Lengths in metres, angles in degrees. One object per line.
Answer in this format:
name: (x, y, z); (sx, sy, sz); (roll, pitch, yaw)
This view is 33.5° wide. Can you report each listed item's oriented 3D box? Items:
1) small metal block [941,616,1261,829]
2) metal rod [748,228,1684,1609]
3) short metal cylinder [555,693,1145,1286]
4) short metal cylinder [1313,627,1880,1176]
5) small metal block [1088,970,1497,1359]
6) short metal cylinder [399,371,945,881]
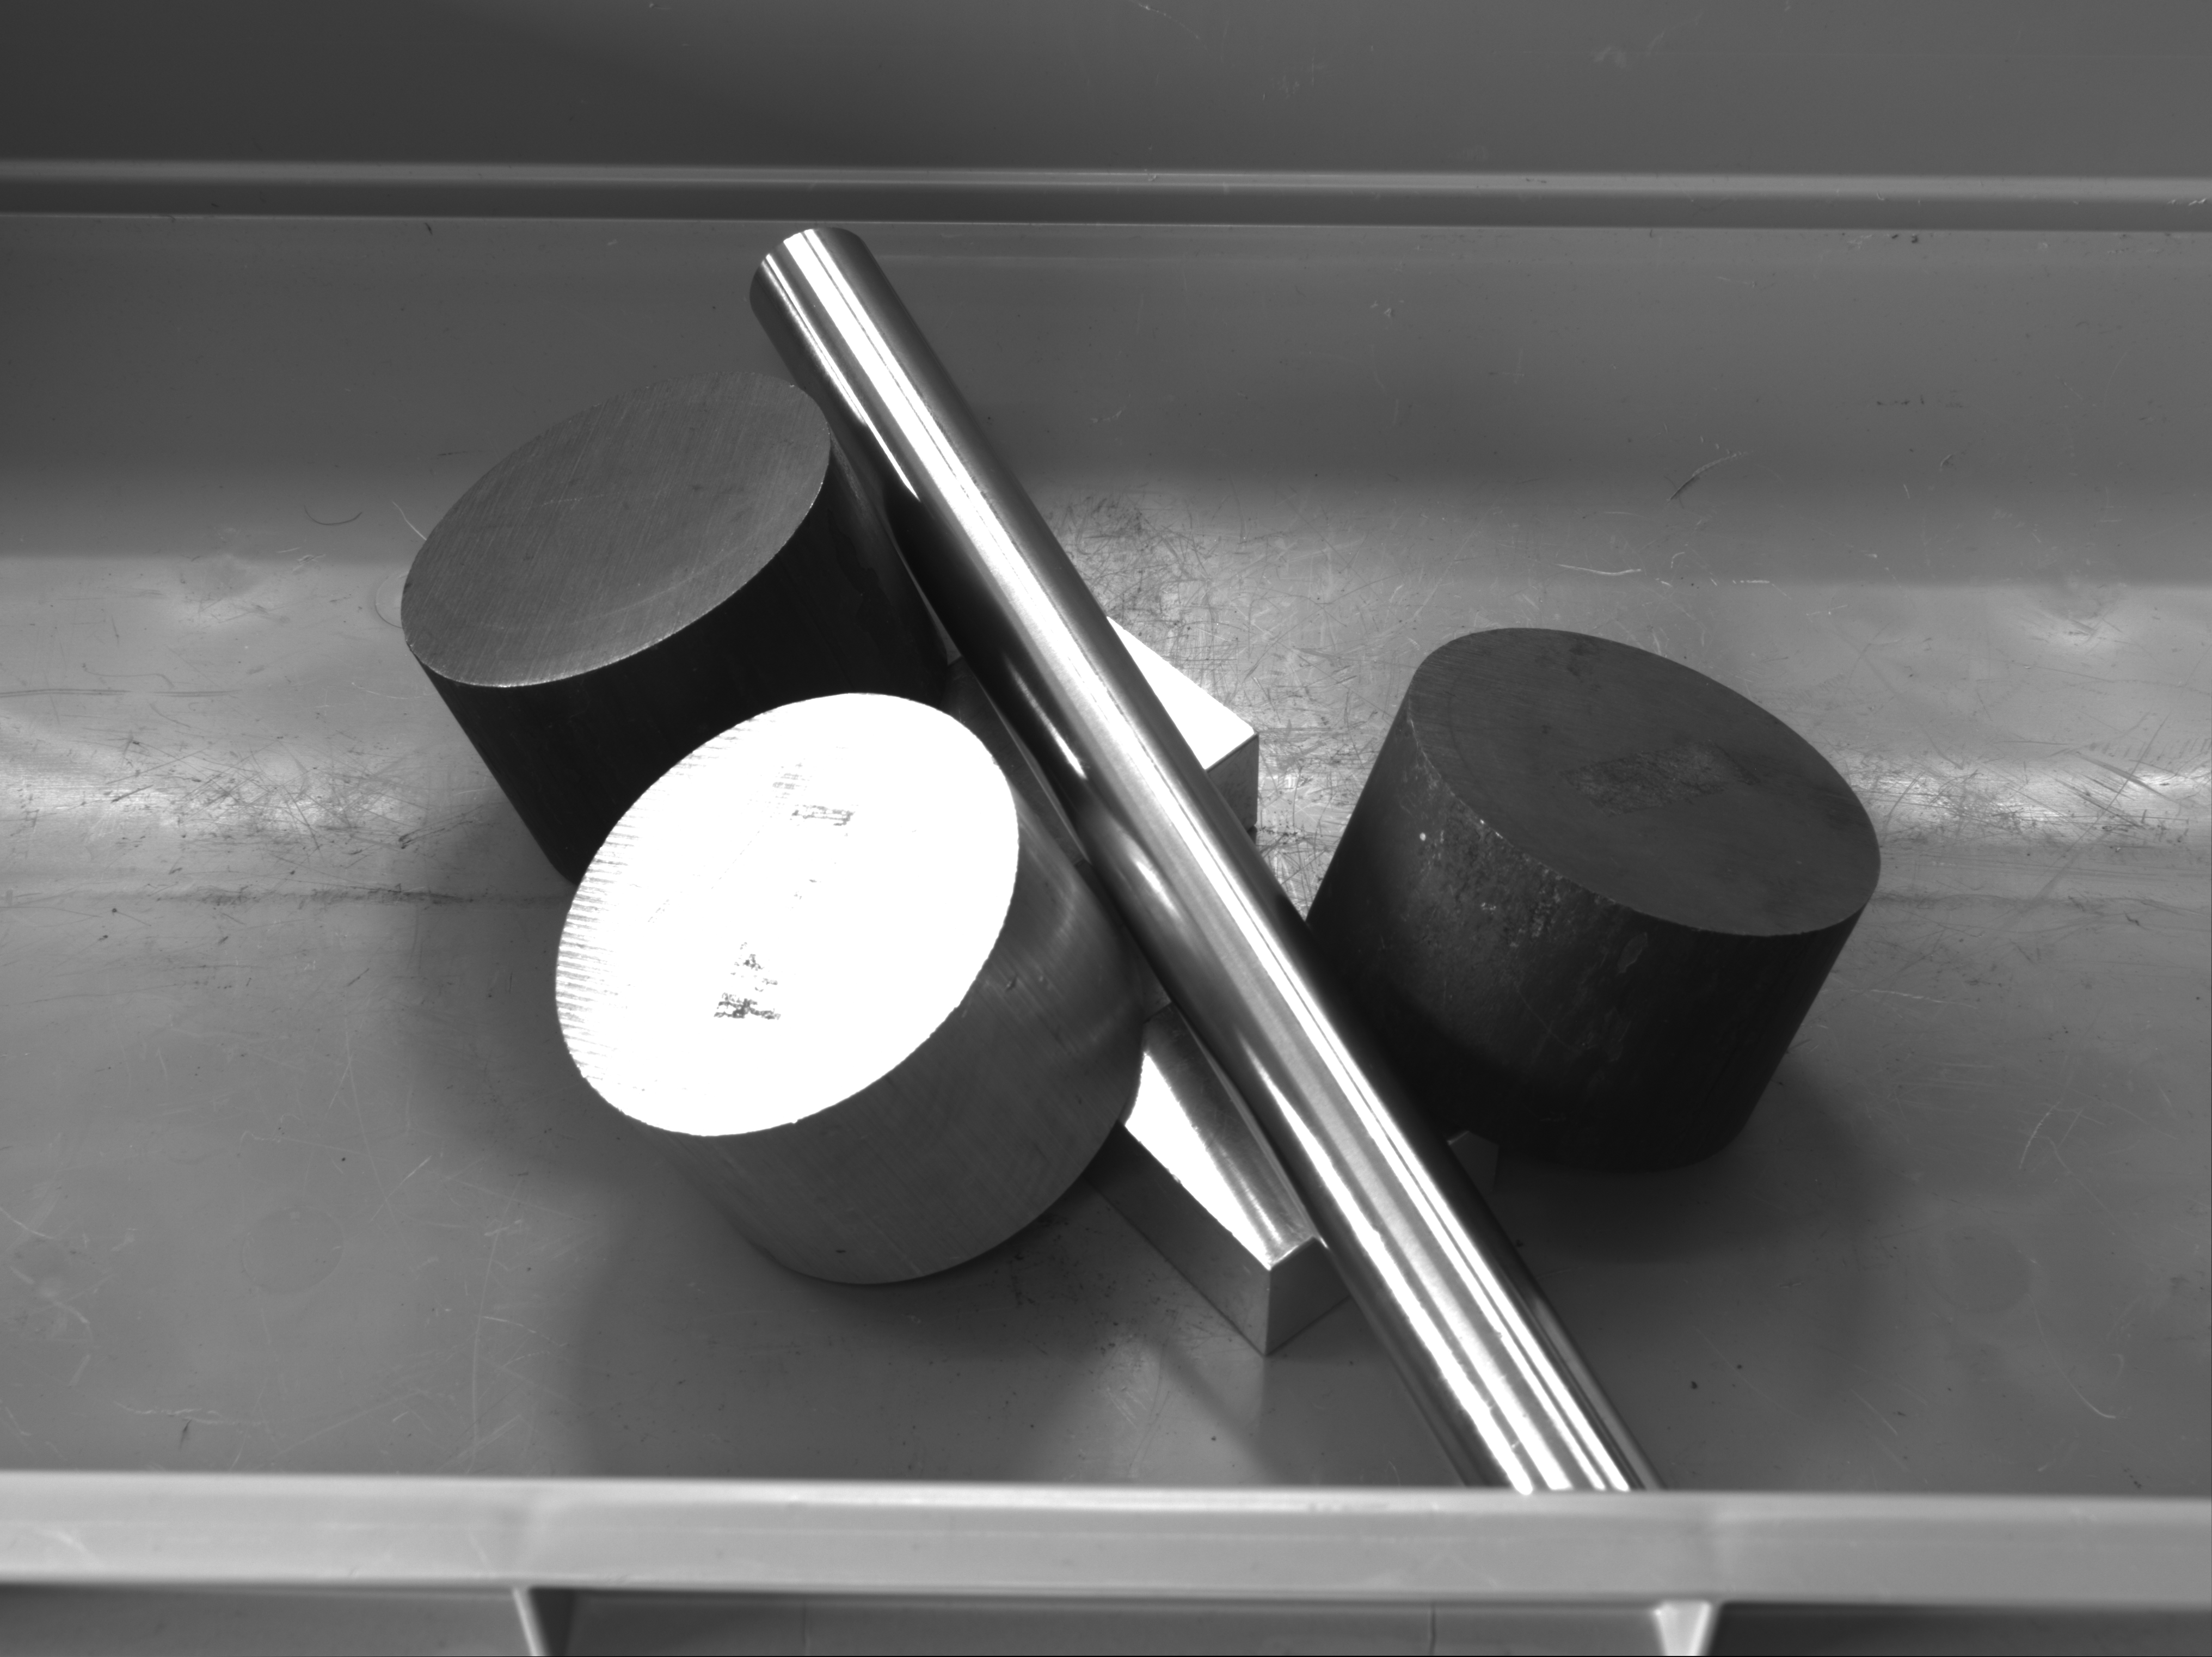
small metal block: (-0.008, -0.009, 0.649); (0.050, 0.025, 0.050); (-36, 58, -26)
metal rod: (0.007, 0.000, 0.608); (0.025, 0.025, 0.299); (-20, 52, -16)
short metal cylinder: (-0.040, 0.026, 0.586); (0.080, 0.050, 0.080); (-14, 52, 18)
short metal cylinder: (0.078, 0.011, 0.599); (0.080, 0.050, 0.080); (15, 33, -10)
small metal block: (0.029, 0.050, 0.599); (0.050, 0.025, 0.050); (-33, 57, -24)
short metal cylinder: (-0.074, -0.034, 0.636); (0.080, 0.050, 0.080); (-16, 39, 14)
